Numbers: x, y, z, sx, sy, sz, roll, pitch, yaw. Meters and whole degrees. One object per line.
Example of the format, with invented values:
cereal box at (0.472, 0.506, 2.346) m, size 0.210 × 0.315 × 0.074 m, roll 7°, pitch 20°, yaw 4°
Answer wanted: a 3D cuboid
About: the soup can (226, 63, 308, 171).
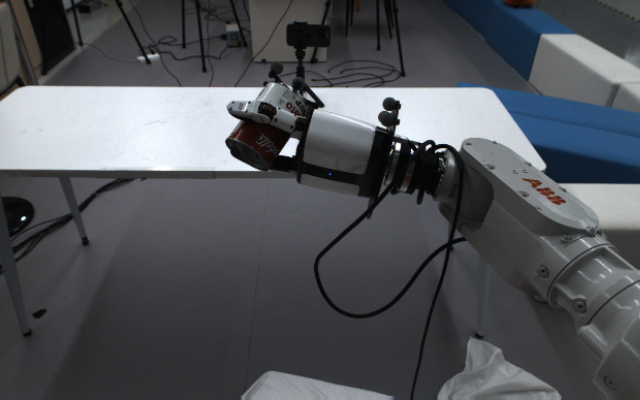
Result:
soup can at (-0.068, -0.098, 0.639) m, size 0.067 × 0.067 × 0.101 m, roll 23°, pitch 71°, yaw 27°
